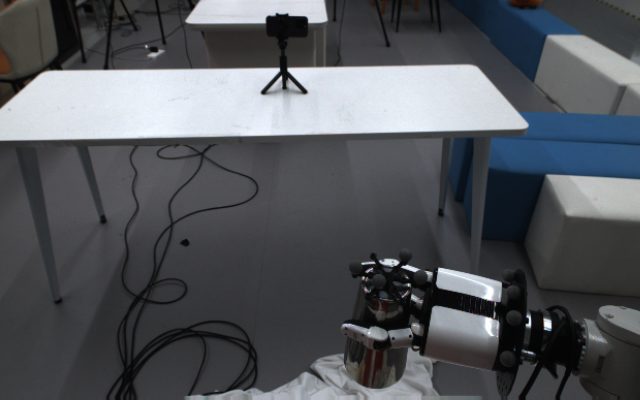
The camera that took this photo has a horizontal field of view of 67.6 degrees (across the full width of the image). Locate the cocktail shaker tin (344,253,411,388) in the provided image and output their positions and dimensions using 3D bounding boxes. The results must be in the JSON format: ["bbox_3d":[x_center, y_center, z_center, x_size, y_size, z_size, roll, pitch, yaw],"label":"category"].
[{"bbox_3d":[0.086,0.167,0.666,0.093,0.170,0.093,1,39,-1],"label":"cocktail shaker tin"}]
